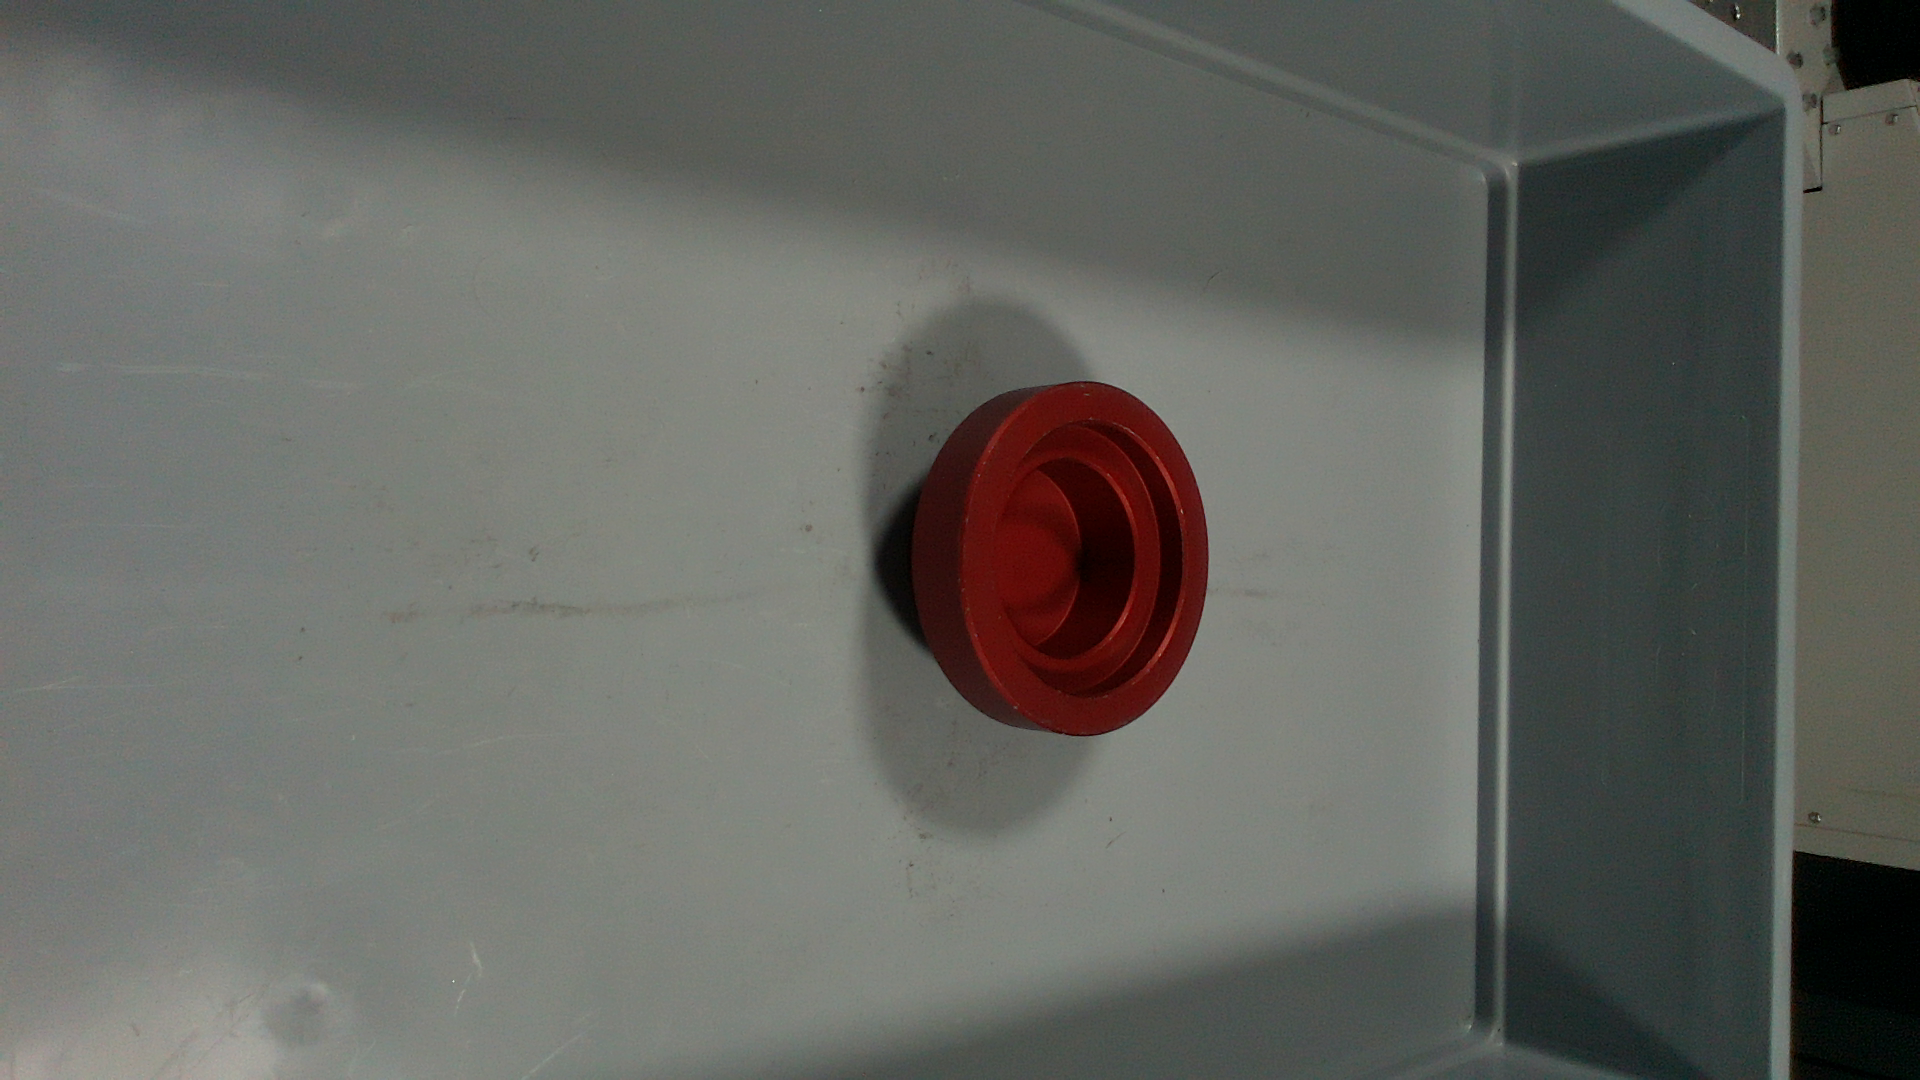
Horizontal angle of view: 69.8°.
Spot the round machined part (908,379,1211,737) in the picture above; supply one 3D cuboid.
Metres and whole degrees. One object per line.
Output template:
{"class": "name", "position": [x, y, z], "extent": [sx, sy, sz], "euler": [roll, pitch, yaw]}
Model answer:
{"class": "round machined part", "position": [0.024, 0.005, 0.394], "extent": [0.098, 0.042, 0.098], "euler": [0, 90, -40]}
